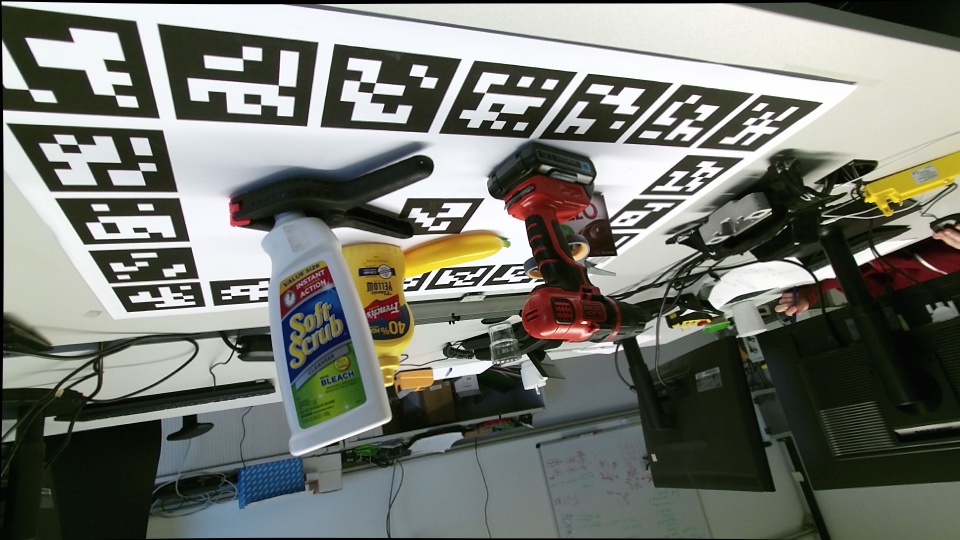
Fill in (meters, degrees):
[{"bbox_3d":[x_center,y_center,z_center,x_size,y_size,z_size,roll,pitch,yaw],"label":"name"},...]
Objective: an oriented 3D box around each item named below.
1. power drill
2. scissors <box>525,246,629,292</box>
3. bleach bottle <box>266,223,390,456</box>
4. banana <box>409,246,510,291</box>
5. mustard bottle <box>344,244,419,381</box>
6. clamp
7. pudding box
[{"bbox_3d":[0.121,-0.012,0.603,0.185,0.186,0.057,0,163,-37],"label":"power drill"},{"bbox_3d":[0.148,0.010,0.712,0.203,0.016,0.088,16,142,-44],"label":"scissors"},{"bbox_3d":[-0.172,0.051,0.549,0.103,0.249,0.068,-17,165,-9],"label":"bleach bottle"},{"bbox_3d":[-0.052,-0.001,0.806,0.198,0.038,0.074,-18,176,13],"label":"banana"},{"bbox_3d":[-0.132,0.058,0.728,0.096,0.190,0.058,4,154,-36],"label":"mustard bottle"},{"bbox_3d":[-0.157,-0.053,0.586,0.203,0.036,0.165,-5,156,-17],"label":"clamp"},{"bbox_3d":[0.129,-0.051,0.725,0.114,0.089,0.039,-1,163,-27],"label":"pudding box"}]
